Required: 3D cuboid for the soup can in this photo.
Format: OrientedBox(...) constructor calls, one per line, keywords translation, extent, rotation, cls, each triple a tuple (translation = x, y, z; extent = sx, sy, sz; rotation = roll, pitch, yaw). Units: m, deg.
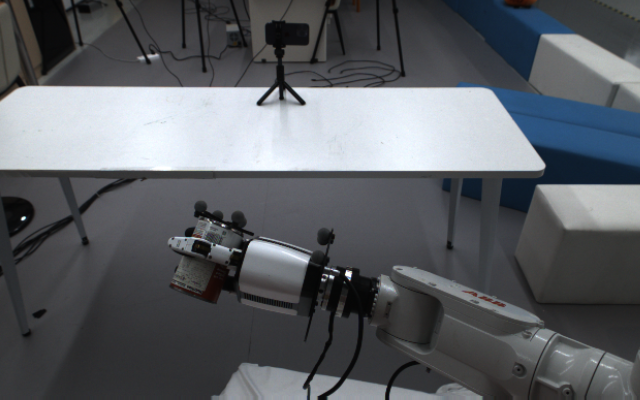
OrientedBox(translation=(-0.152, 0.085, 0.661), extent=(0.067, 0.067, 0.101), rotation=(16, 76, 19), cls="soup can")
